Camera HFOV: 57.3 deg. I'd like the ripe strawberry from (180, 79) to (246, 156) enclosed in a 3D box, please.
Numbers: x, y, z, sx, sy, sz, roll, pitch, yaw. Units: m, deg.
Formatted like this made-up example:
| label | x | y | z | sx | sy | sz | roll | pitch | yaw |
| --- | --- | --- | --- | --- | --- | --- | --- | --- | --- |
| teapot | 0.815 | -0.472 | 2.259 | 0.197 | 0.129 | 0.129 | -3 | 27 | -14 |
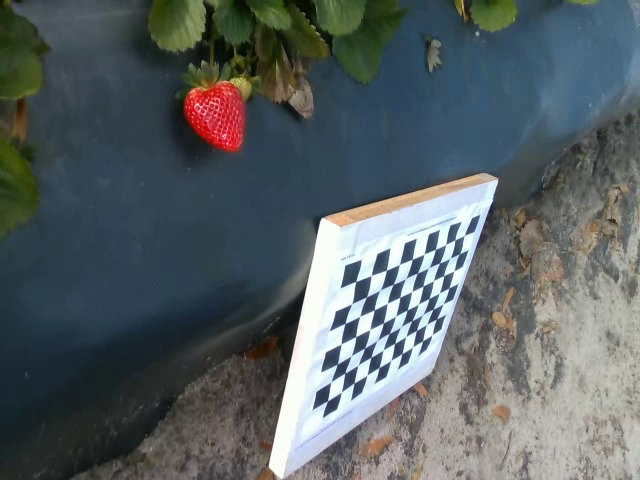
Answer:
| label | x | y | z | sx | sy | sz | roll | pitch | yaw |
| --- | --- | --- | --- | --- | --- | --- | --- | --- | --- |
| ripe strawberry | -0.068 | -0.081 | 0.396 | 0.045 | 0.058 | 0.050 | -13 | -15 | -47 |
